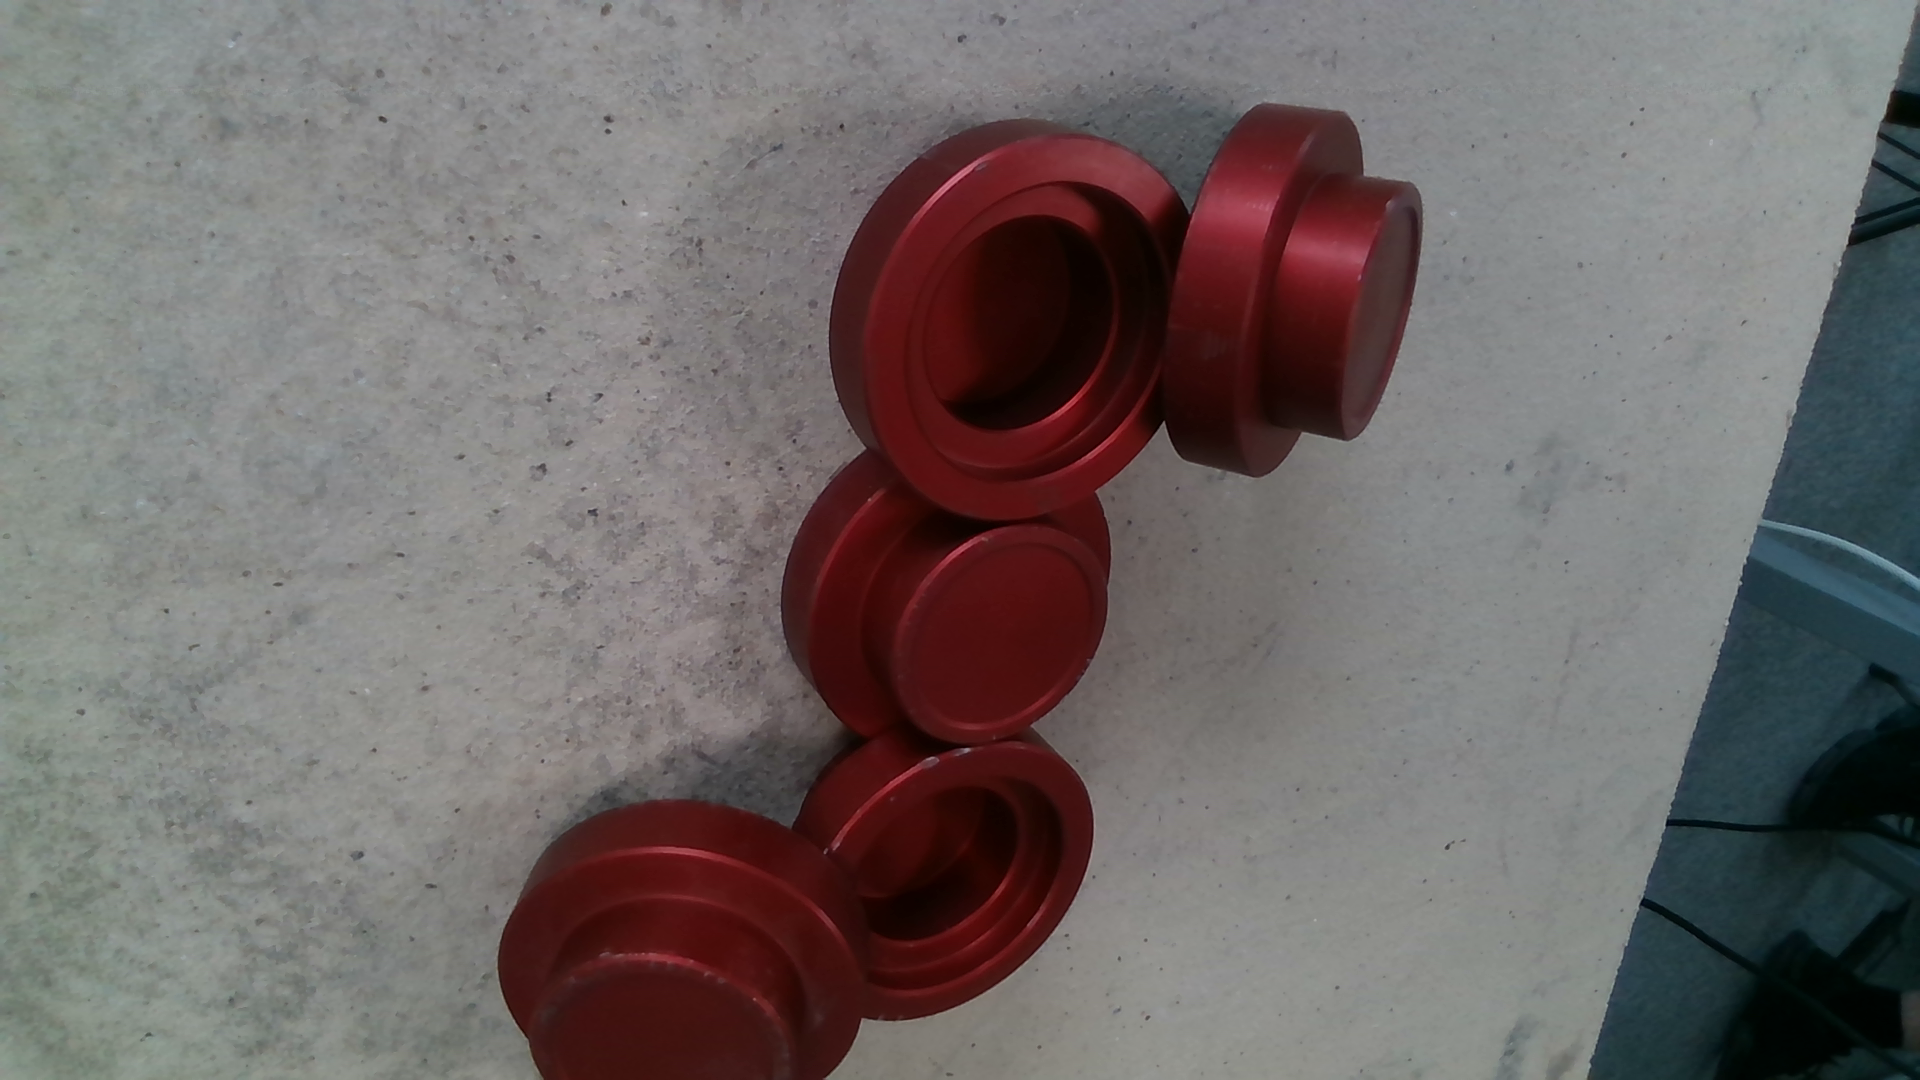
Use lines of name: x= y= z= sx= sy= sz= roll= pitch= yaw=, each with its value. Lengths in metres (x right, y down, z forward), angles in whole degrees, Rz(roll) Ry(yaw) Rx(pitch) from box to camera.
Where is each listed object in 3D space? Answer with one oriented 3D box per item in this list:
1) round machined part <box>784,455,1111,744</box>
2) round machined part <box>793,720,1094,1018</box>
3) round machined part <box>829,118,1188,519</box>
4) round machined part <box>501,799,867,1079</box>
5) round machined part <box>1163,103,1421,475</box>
round machined part: x=0.003 y=0.018 z=0.389 sx=0.098 sy=0.042 sz=0.098 roll=-15 pitch=120 yaw=-27
round machined part: x=-0.011 y=0.093 z=0.422 sx=0.098 sy=0.042 sz=0.098 roll=-14 pitch=120 yaw=-25
round machined part: x=0.011 y=-0.058 z=0.354 sx=0.098 sy=0.042 sz=0.098 roll=-14 pitch=120 yaw=-25
round machined part: x=-0.074 y=0.121 z=0.370 sx=0.098 sy=0.042 sz=0.098 roll=0 pitch=118 yaw=1
round machined part: x=0.094 y=-0.065 z=0.373 sx=0.098 sy=0.042 sz=0.098 roll=-40 pitch=139 yaw=-48
